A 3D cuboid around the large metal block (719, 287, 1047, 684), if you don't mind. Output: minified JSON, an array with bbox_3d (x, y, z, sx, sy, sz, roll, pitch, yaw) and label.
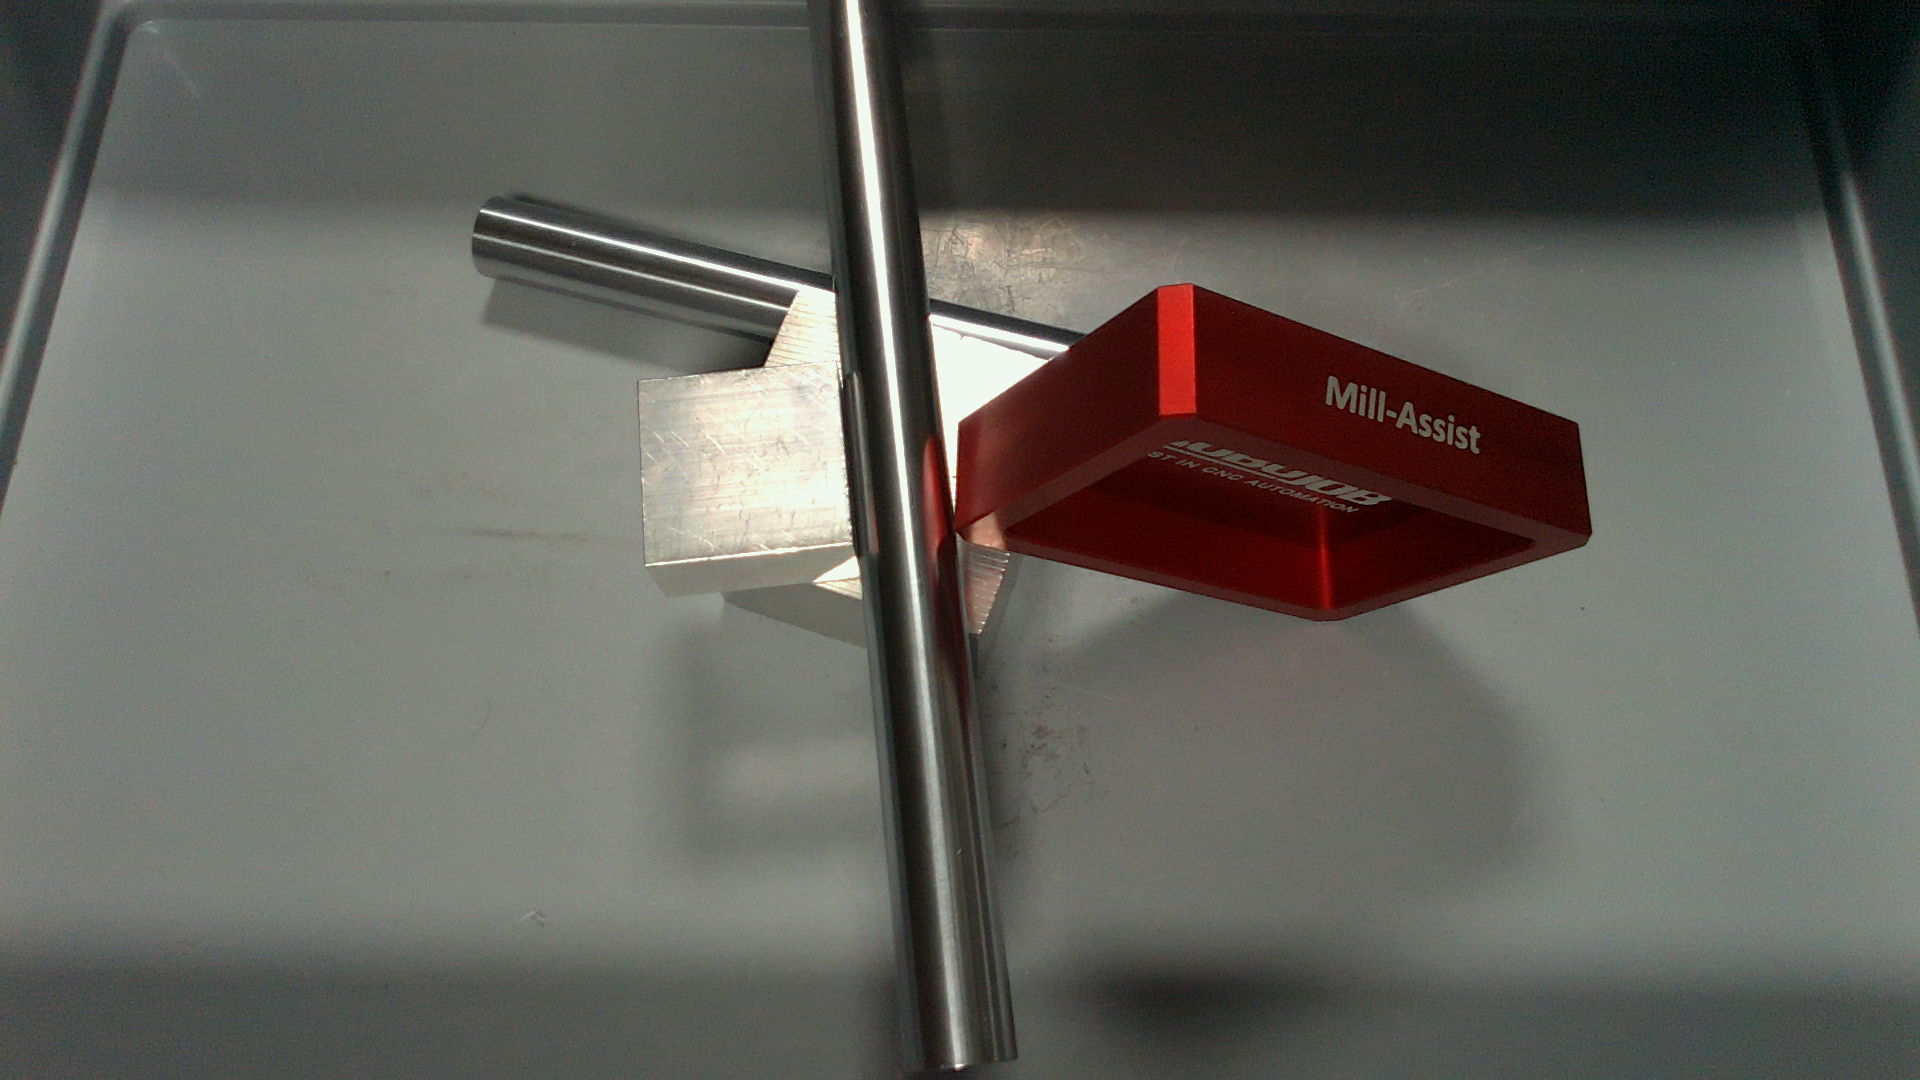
[{"bbox_3d":[-0.019,-0.014,0.386,0.080,0.050,0.080,17,71,6],"label":"large metal block"}]

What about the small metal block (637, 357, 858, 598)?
[{"bbox_3d":[-0.053,-0.015,0.346,0.050,0.025,0.050,-6,70,-3],"label":"small metal block"}]

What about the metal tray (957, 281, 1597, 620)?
[{"bbox_3d":[0.076,-0.015,0.336,0.130,0.090,0.030,12,68,-29],"label":"metal tray"}]

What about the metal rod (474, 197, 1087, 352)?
[{"bbox_3d":[0.000,-0.059,0.416,0.300,0.025,0.025,14,71,5],"label":"metal rod"}]

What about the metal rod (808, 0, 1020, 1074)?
[{"bbox_3d":[-0.016,-0.026,0.350,0.025,0.025,0.300,-6,70,-2],"label":"metal rod"}]
